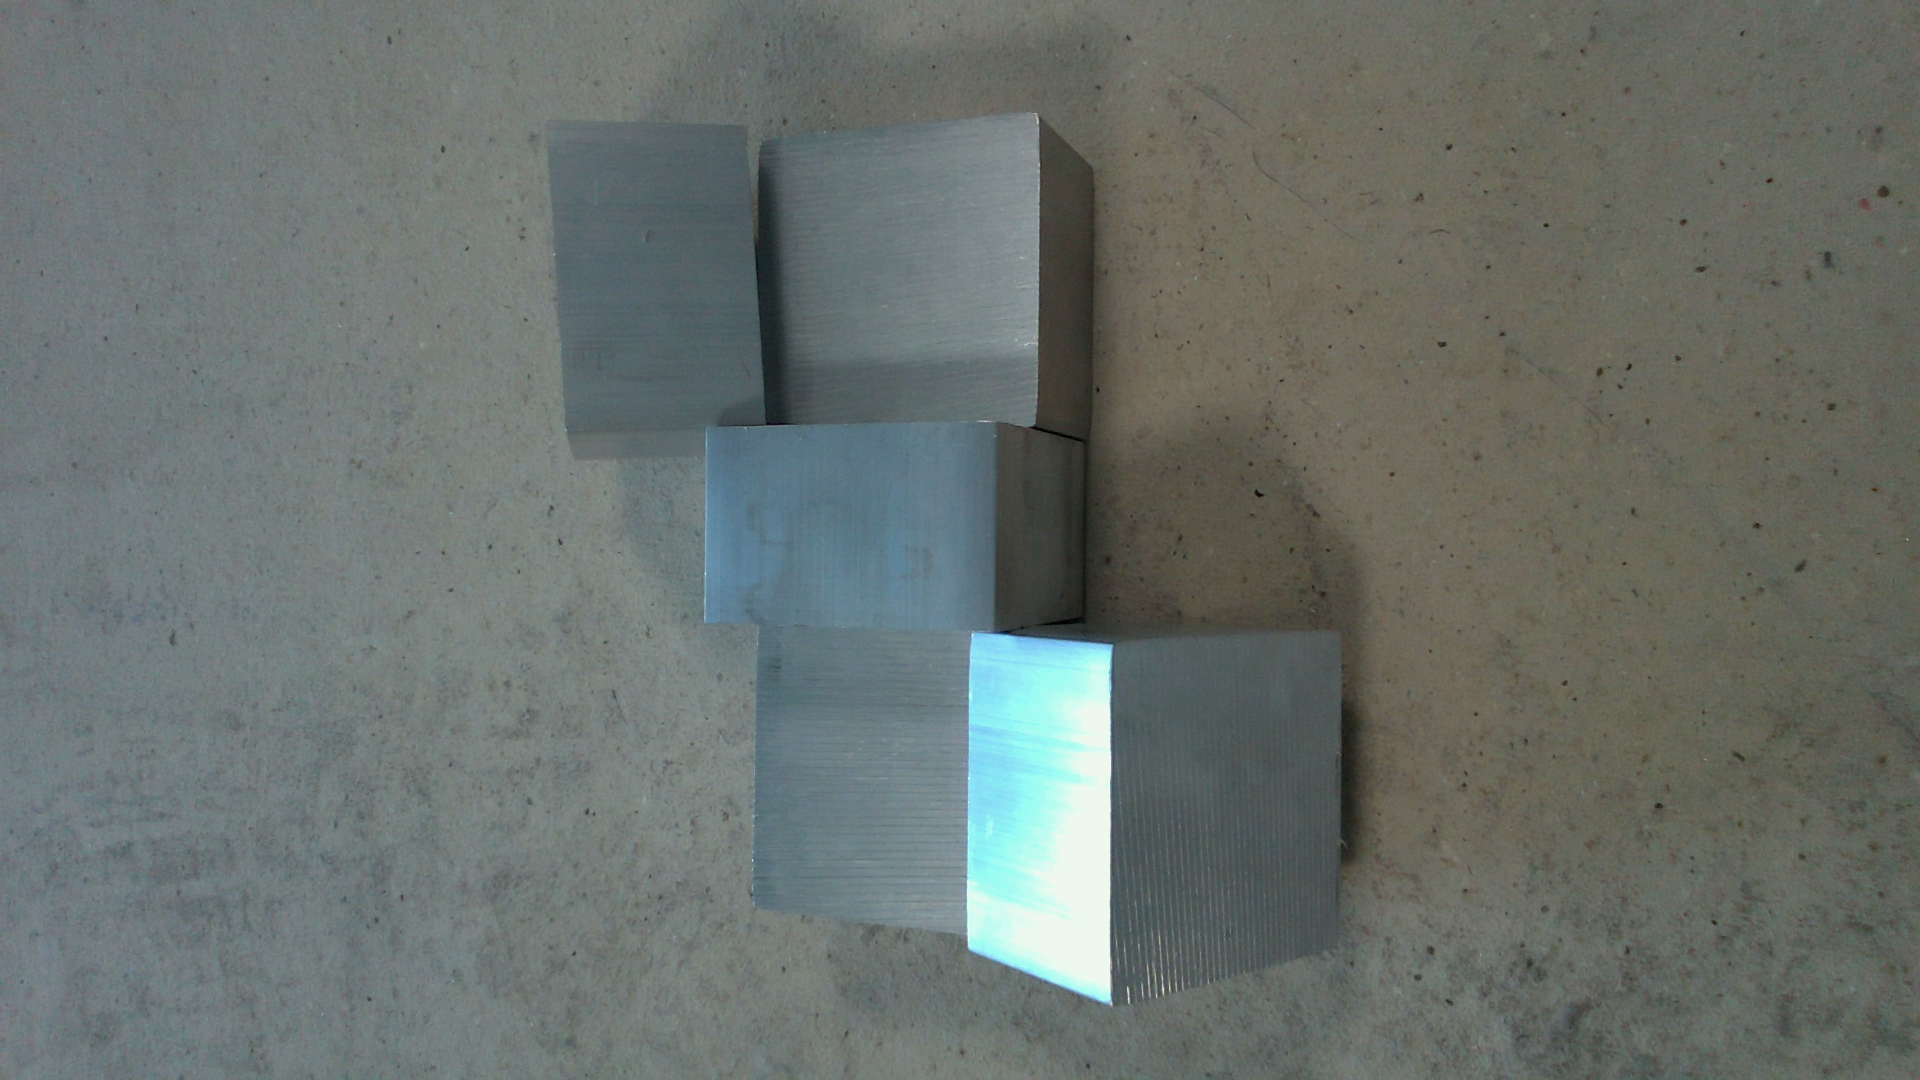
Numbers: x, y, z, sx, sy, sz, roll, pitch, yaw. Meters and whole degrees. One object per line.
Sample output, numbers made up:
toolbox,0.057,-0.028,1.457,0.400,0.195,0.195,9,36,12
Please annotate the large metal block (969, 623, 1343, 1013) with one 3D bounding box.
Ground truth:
large metal block,0.049,0.062,0.341,0.050,0.080,0.080,0,90,52

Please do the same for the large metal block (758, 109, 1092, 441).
large metal block,-0.009,-0.069,0.384,0.080,0.050,0.080,1,90,20

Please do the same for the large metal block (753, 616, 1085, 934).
large metal block,-0.010,0.062,0.387,0.080,0.050,0.080,1,91,20

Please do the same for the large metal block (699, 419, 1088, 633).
large metal block,-0.015,-0.004,0.372,0.080,0.080,0.050,0,90,20

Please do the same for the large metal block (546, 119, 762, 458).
large metal block,-0.087,-0.066,0.391,0.050,0.080,0.080,-3,89,-14
